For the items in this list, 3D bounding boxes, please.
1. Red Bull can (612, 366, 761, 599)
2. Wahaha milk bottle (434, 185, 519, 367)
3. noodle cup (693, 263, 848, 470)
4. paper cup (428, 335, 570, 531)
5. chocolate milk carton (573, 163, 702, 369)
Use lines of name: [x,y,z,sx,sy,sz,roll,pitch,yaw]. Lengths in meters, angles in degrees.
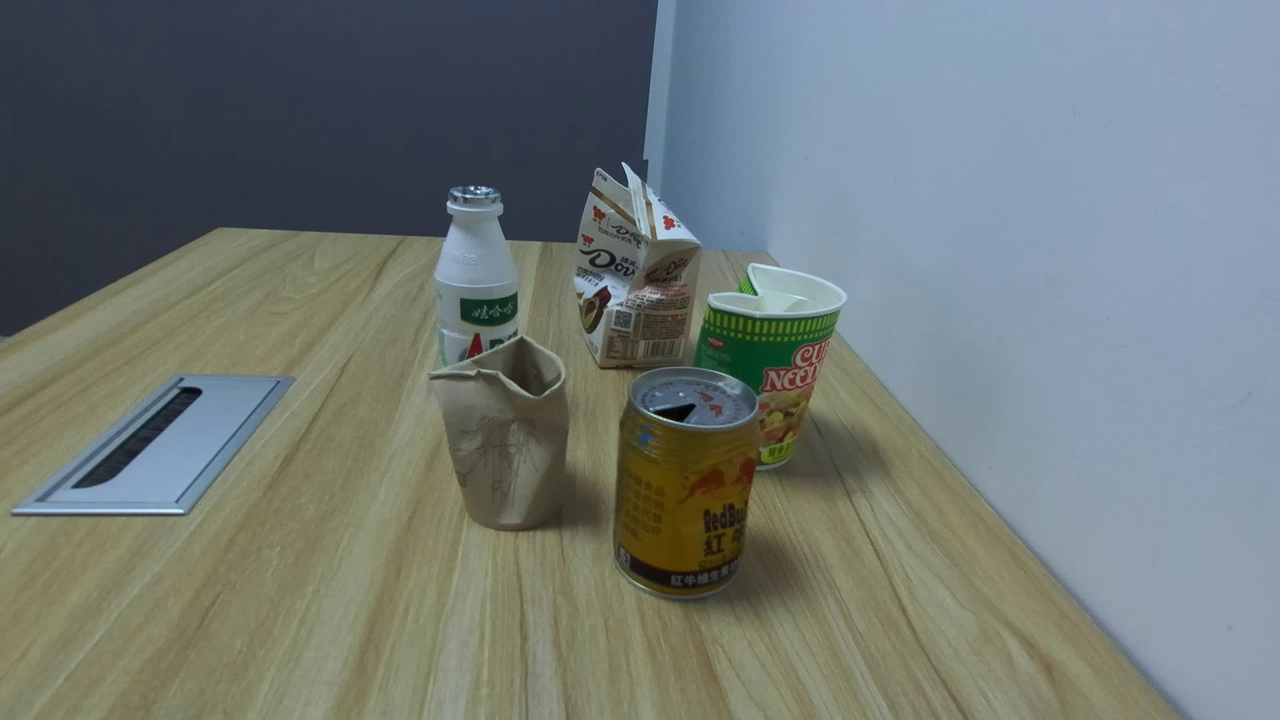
Red Bull can: [0.021,0.057,0.341,0.068,0.093,0.068,3,24,-1]
Wahaha milk bottle: [-0.105,-0.036,0.458,0.053,0.147,0.053,4,24,-2]
noodle cup: [0.071,0.007,0.436,0.086,0.109,0.094,25,32,38]
paper cup: [-0.072,0.041,0.375,0.058,0.083,0.066,-16,29,-30]
chocolate milk carton: [-0.004,-0.068,0.550,0.077,0.155,0.089,-7,39,-16]
